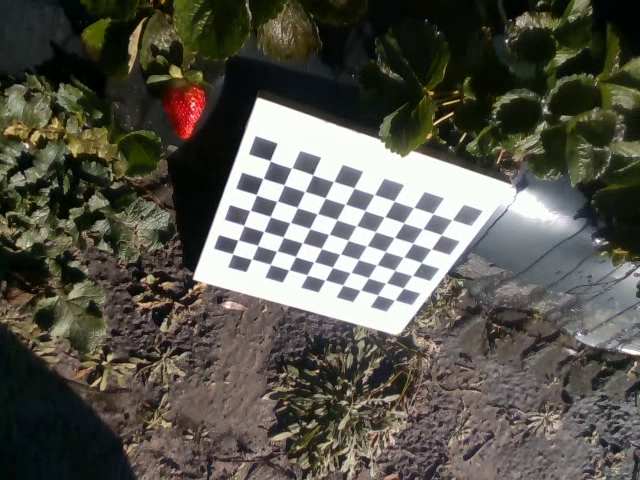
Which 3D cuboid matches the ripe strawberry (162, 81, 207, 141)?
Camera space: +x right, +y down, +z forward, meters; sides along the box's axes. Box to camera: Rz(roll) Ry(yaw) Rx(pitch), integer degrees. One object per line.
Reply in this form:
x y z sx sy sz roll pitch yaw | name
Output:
-0.135 -0.128 0.605 0.048 0.069 0.040 4 35 0 | ripe strawberry
